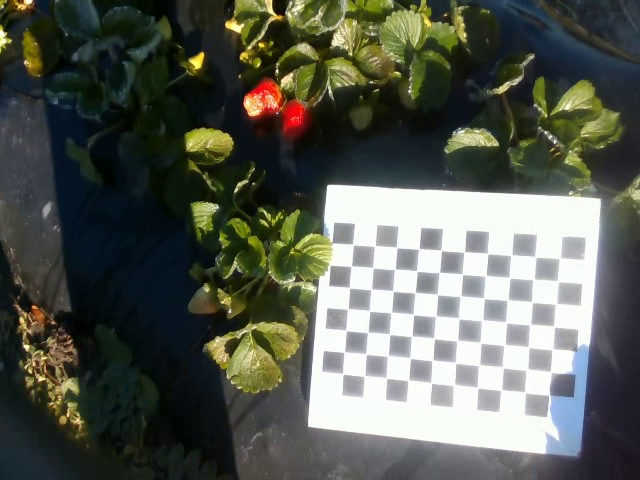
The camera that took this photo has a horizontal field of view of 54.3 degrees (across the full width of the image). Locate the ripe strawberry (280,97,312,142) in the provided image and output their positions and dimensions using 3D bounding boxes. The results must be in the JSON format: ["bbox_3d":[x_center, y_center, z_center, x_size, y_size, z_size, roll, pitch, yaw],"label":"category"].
[{"bbox_3d":[-0.037,-0.169,0.851,0.043,0.059,0.040,4,-7,11],"label":"ripe strawberry"}]

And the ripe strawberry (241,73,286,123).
[{"bbox_3d":[-0.080,-0.195,0.870,0.069,0.053,0.040,-39,-2,-1],"label":"ripe strawberry"}]
